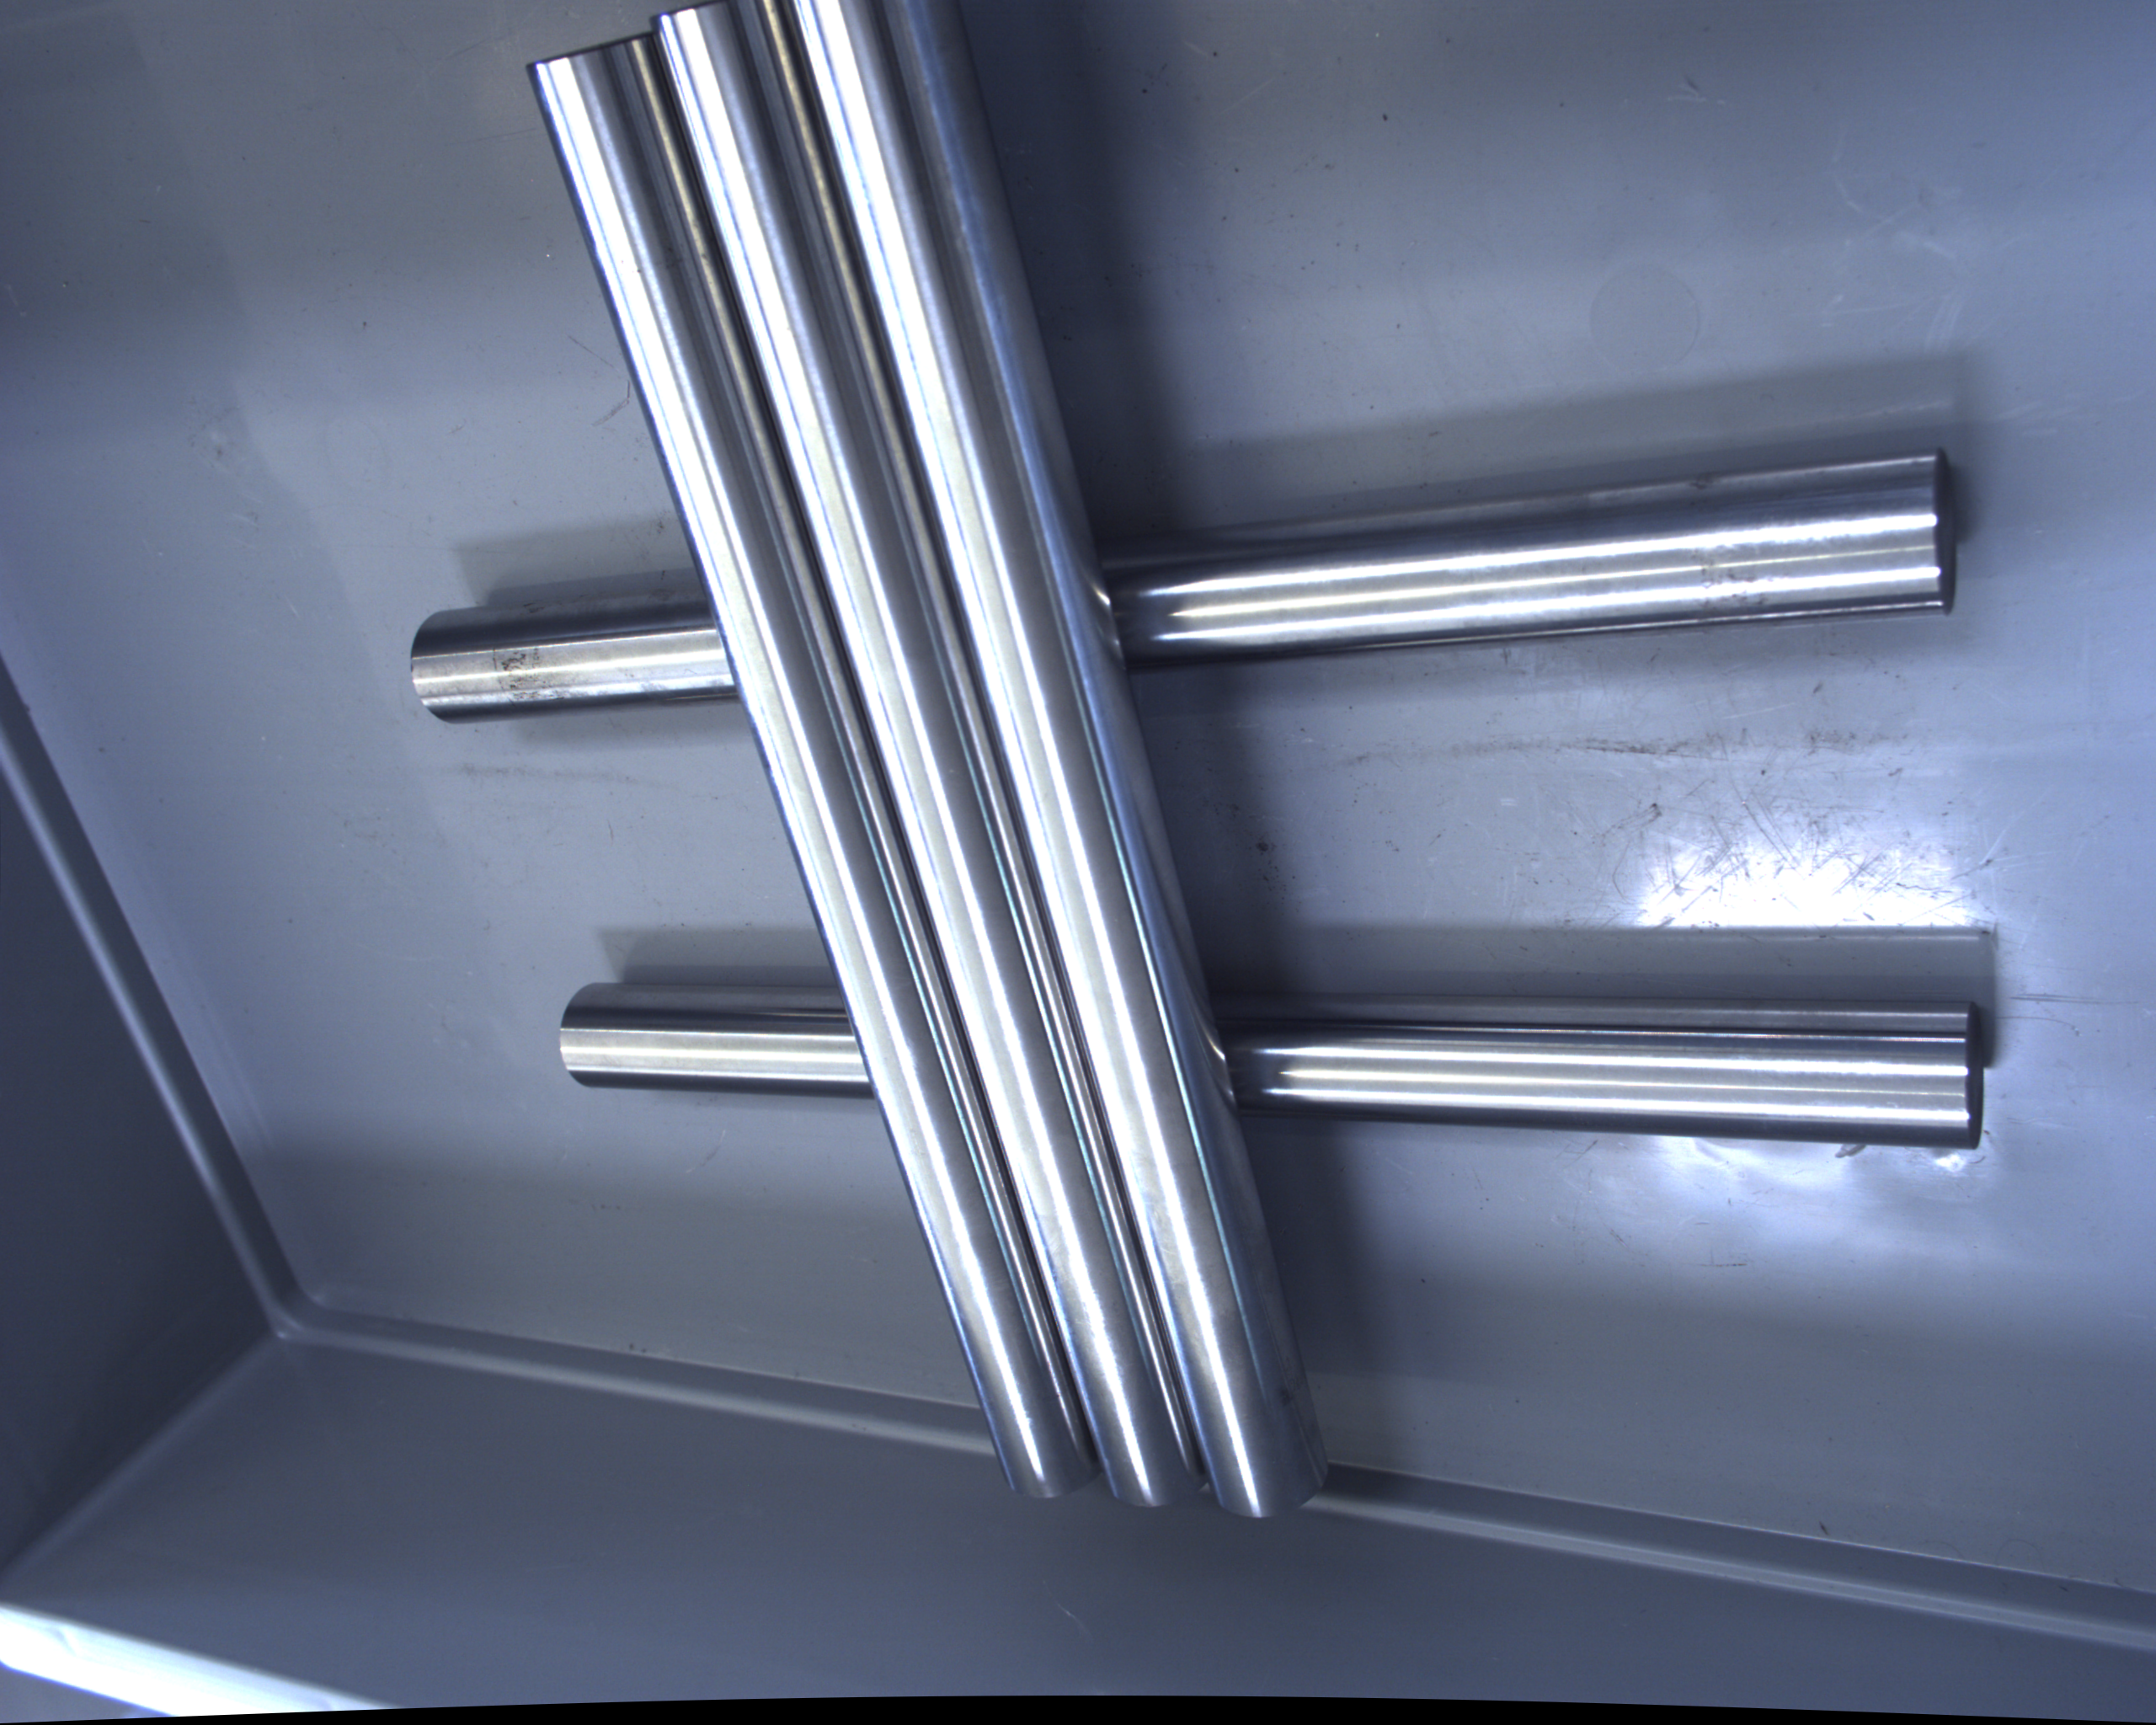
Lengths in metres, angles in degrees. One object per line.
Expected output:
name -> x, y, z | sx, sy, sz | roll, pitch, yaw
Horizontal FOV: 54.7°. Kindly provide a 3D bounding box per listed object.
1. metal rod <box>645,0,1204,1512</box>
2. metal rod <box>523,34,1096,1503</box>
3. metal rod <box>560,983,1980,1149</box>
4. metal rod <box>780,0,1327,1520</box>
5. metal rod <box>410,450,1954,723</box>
metal rod -> -0.018, -0.002, 0.382 | 0.025, 0.025, 0.298 | -1, 118, 29
metal rod -> -0.040, 0.000, 0.395 | 0.025, 0.025, 0.298 | -1, 118, 29
metal rod -> 0.018, 0.038, 0.421 | 0.300, 0.025, 0.025 | -1, 118, 28
metal rod -> 0.003, -0.004, 0.369 | 0.025, 0.025, 0.298 | -1, 118, 29
metal rod -> -0.003, -0.046, 0.381 | 0.300, 0.025, 0.025 | -1, 118, 28
